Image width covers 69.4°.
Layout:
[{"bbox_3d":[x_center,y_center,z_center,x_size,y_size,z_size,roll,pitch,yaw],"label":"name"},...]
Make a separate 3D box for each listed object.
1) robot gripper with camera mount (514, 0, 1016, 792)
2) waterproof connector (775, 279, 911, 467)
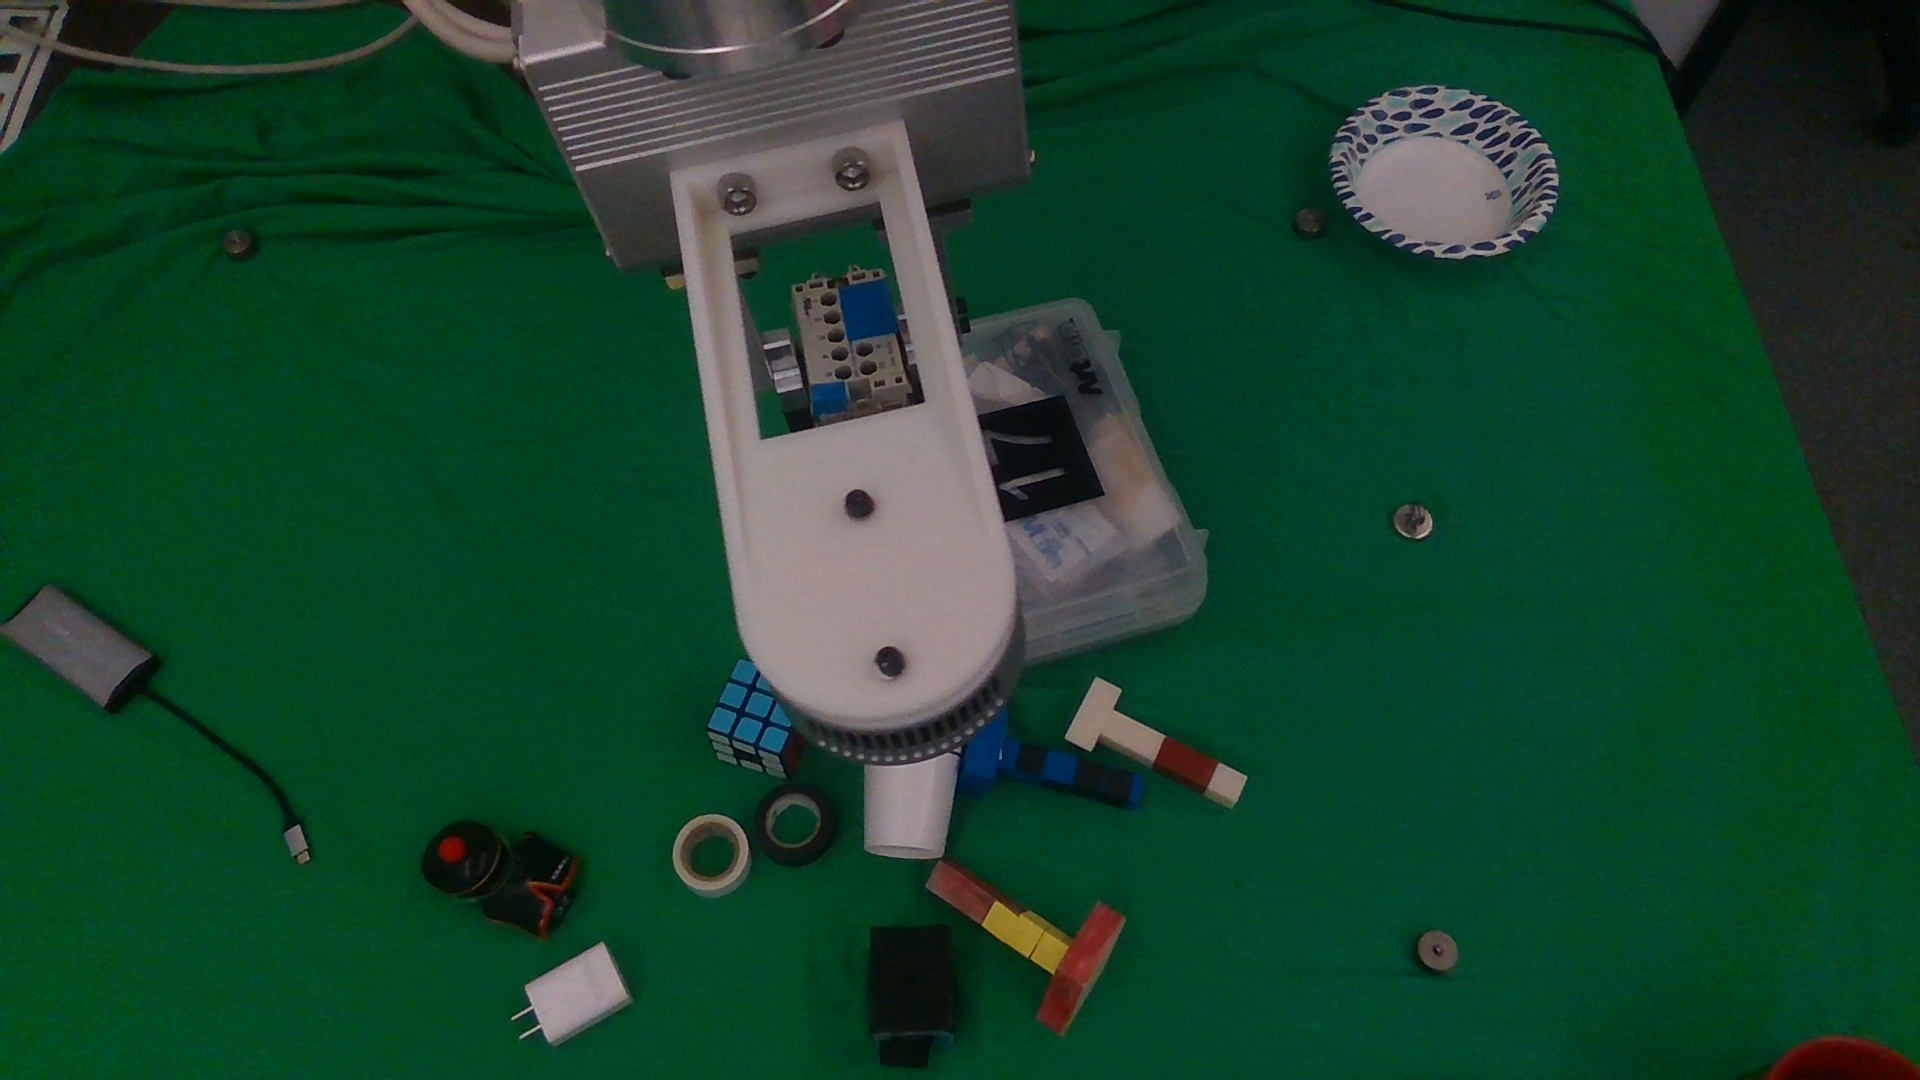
[{"bbox_3d":[-0.025,-0.021,0.372,0.119,0.158,0.193,-15,61,1],"label":"robot gripper with camera mount"},{"bbox_3d":[-0.039,-0.056,0.462,0.035,0.037,0.065,-14,70,-3],"label":"waterproof connector"}]
